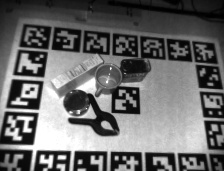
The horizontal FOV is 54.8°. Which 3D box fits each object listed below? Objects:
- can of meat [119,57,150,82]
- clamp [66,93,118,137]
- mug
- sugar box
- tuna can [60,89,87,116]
[{"bbox_3d":[0.073,-0.054,0.765,0.102,0.083,0.057,-4,69,-12],"label":"can of meat"},{"bbox_3d":[-0.051,0.114,0.708,0.165,0.036,0.122,38,64,1],"label":"clamp"},{"bbox_3d":[-0.027,-0.015,0.726,0.093,0.081,0.117,27,70,1],"label":"mug"},{"bbox_3d":[-0.119,-0.034,0.721,0.177,0.093,0.045,-34,76,-20],"label":"sugar box"},{"bbox_3d":[-0.126,0.056,0.712,0.086,0.034,0.085,3,71,-8],"label":"tuna can"}]
